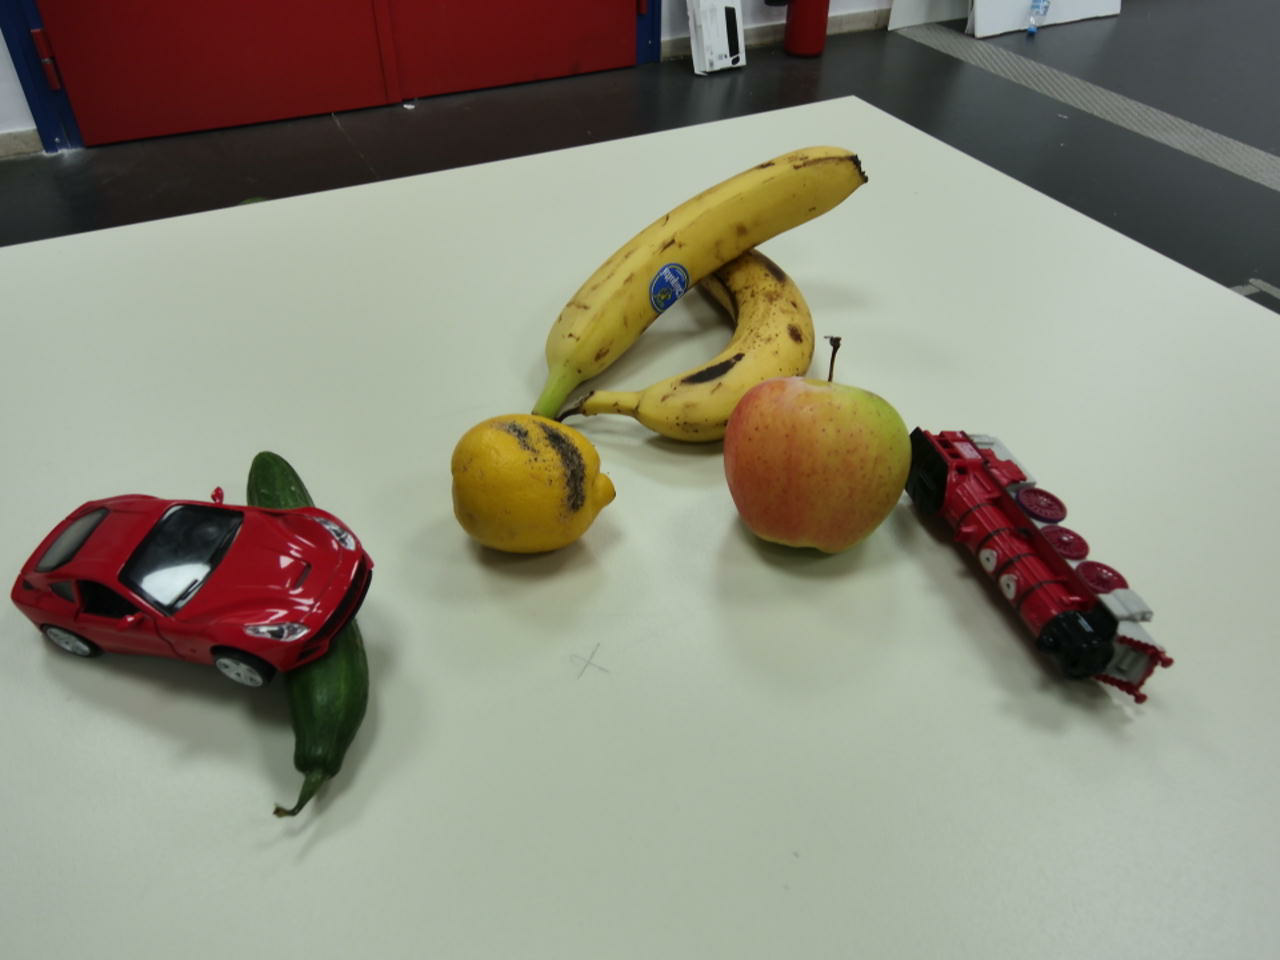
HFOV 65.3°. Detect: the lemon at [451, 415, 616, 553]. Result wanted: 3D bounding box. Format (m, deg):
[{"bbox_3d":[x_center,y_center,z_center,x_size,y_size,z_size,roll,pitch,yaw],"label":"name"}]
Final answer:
[{"bbox_3d":[-0.046,0.001,0.405,0.061,0.056,0.058,-23,44,-27],"label":"lemon"}]
